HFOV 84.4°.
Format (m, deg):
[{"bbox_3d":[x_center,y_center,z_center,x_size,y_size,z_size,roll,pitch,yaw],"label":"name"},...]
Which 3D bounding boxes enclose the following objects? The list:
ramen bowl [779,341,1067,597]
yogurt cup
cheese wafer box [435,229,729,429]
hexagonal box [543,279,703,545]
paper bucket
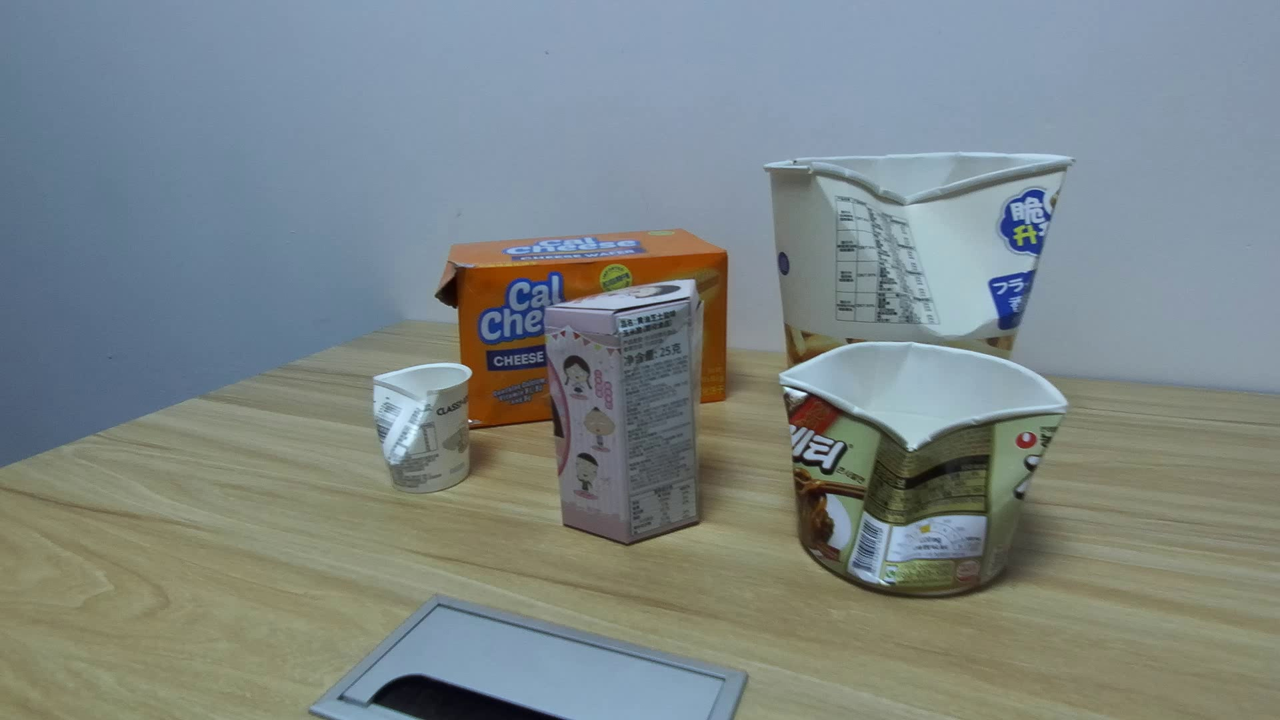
[{"bbox_3d":[0.149,0.052,0.380,0.137,0.098,0.137,1,18,0],"label":"ramen bowl"},{"bbox_3d":[-0.142,0.045,0.474,0.067,0.070,0.067,-3,18,1],"label":"yogurt cup"},{"bbox_3d":[-0.049,-0.038,0.618,0.227,0.137,0.149,-5,18,-10],"label":"cheese wafer box"},{"bbox_3d":[-0.004,0.026,0.410,0.085,0.135,0.092,-1,18,6],"label":"hexagonal box"},{"bbox_3d":[0.181,-0.047,0.518,0.163,0.202,0.168,-15,20,-30],"label":"paper bucket"}]
